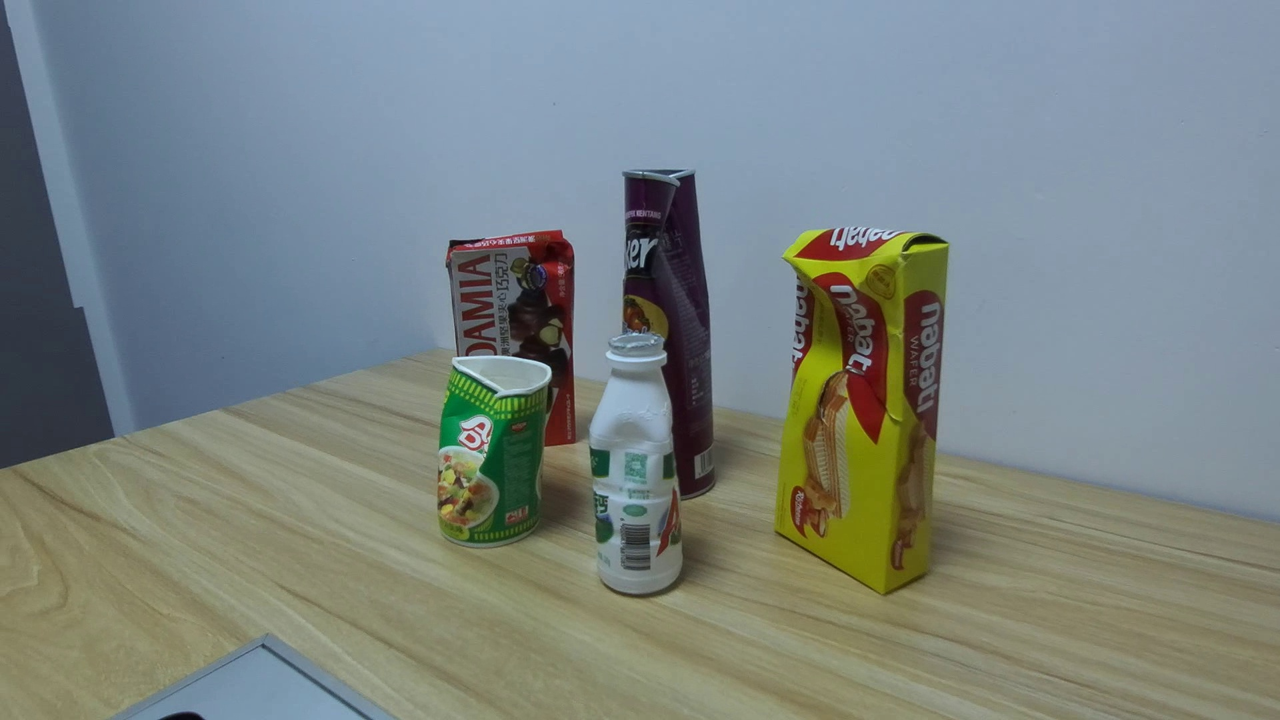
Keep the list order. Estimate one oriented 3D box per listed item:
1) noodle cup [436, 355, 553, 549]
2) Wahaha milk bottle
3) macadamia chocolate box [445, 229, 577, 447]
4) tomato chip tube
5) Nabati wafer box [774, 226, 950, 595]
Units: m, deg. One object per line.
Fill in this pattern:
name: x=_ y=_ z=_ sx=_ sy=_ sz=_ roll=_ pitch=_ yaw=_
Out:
noodle cup: x=-0.101 y=0.061 z=0.478 sx=0.075 sy=0.122 sz=0.082 roll=6 pitch=8 yaw=-5
Wahaha milk bottle: x=-0.002 y=0.059 z=0.409 sx=0.055 sy=0.149 sz=0.055 roll=-2 pitch=16 yaw=1
macadamia chocolate box: x=-0.103 y=-0.013 z=0.593 sx=0.103 sy=0.187 sz=0.027 roll=-5 pitch=18 yaw=-10
tomato chip tube: x=0.021 y=-0.018 z=0.521 sx=0.078 sy=0.235 sz=0.076 roll=-7 pitch=16 yaw=-24
Nabati wafer box: x=0.124 y=0.024 z=0.421 sx=0.042 sy=0.204 sz=0.106 roll=-12 pitch=20 yaw=-31
